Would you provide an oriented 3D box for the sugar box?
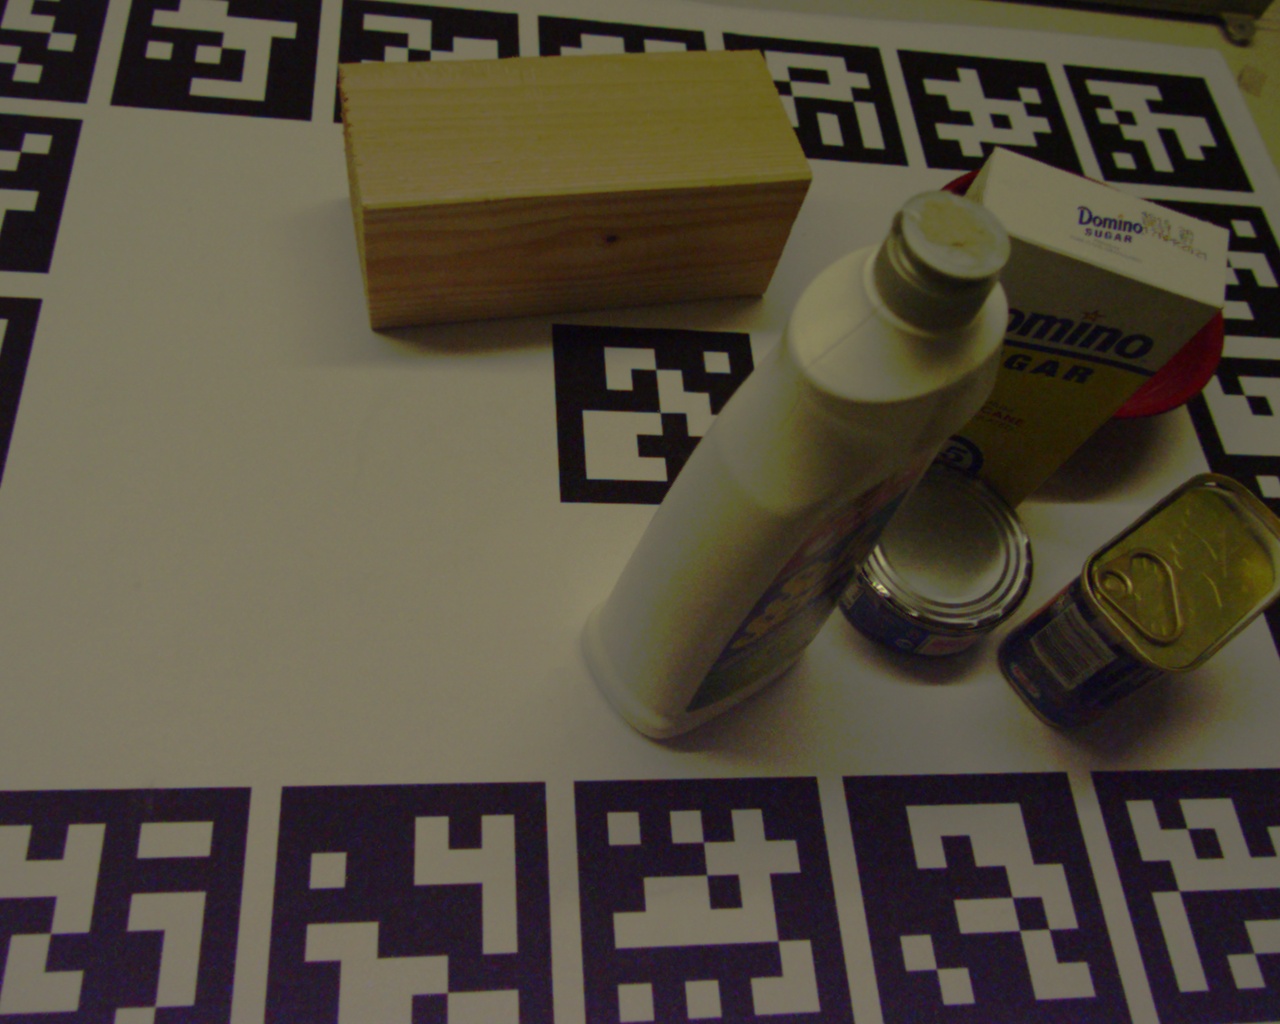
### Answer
[{"bbox_3d":[0.153,-0.064,0.514,0.093,0.176,0.045,18,61,3],"label":"sugar box"}]

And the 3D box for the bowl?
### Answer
[{"bbox_3d":[0.212,-0.105,0.622,0.161,0.055,0.162,2,60,-5],"label":"bowl"}]

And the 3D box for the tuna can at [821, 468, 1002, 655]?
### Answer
[{"bbox_3d":[0.124,0.024,0.541,0.085,0.034,0.086,4,63,-8],"label":"tuna can"}]

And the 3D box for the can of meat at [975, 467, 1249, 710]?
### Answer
[{"bbox_3d":[0.213,0.038,0.528,0.101,0.084,0.058,-28,67,-25],"label":"can of meat"}]

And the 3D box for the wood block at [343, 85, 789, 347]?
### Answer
[{"bbox_3d":[-0.043,-0.154,0.587,0.205,0.090,0.091,-8,67,-16],"label":"wood block"}]

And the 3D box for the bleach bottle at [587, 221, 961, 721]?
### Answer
[{"bbox_3d":[0.047,-0.006,0.423,0.102,0.251,0.068,-24,67,-22],"label":"bleach bottle"}]
